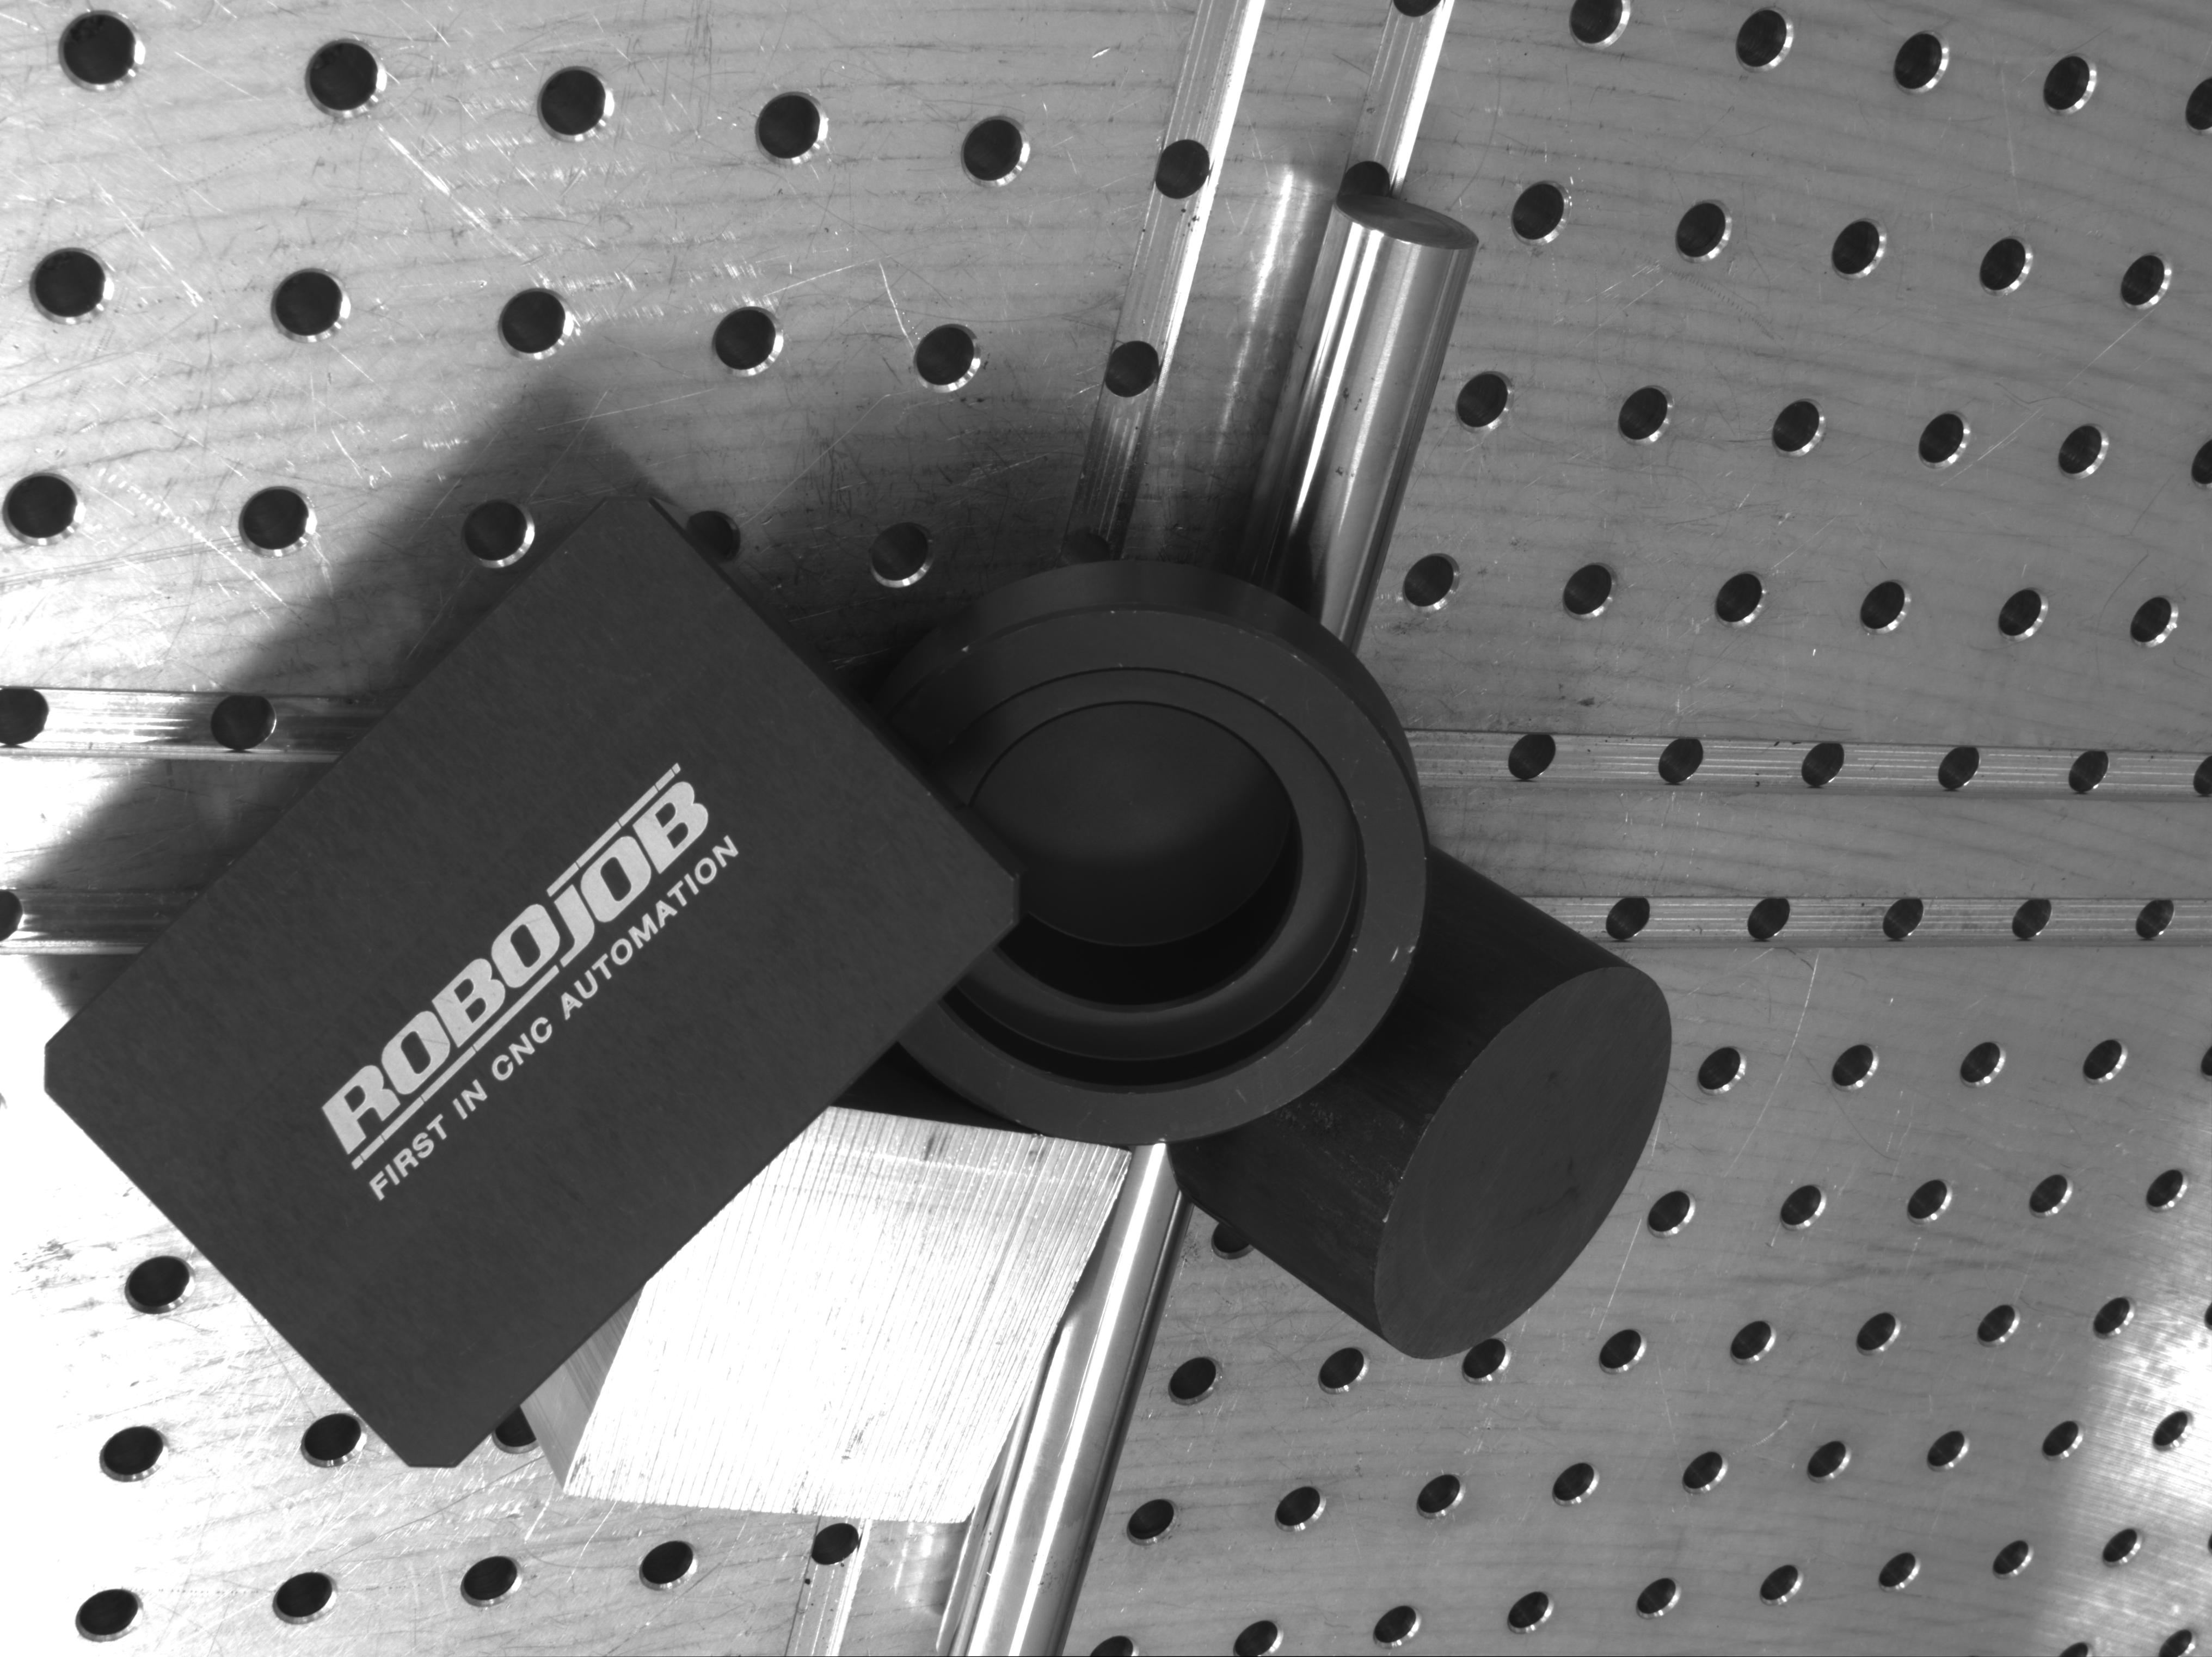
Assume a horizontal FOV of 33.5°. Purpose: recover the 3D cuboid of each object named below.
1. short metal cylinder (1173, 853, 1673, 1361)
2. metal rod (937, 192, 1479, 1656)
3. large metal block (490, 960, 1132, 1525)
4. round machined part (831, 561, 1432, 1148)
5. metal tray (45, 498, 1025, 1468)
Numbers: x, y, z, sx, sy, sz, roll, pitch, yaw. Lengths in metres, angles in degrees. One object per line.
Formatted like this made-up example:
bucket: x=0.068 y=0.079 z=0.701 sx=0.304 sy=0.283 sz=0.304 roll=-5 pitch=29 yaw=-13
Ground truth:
short metal cylinder: x=0.058 y=0.049 z=0.669 sx=0.080 sy=0.050 sz=0.080 roll=-31 pitch=137 yaw=-33
metal rod: x=0.014 y=0.031 z=0.668 sx=0.025 sy=0.025 sz=0.300 roll=1 pitch=118 yaw=-29
large metal block: x=-0.054 y=0.071 z=0.639 sx=0.080 sy=0.050 sz=0.080 roll=11 pitch=113 yaw=-33
round machined part: x=0.004 y=0.001 z=0.616 sx=0.098 sy=0.042 sz=0.098 roll=0 pitch=114 yaw=0
metal tray: x=-0.087 y=0.023 z=0.573 sx=0.130 sy=0.030 sz=0.090 roll=-44 pitch=91 yaw=2
